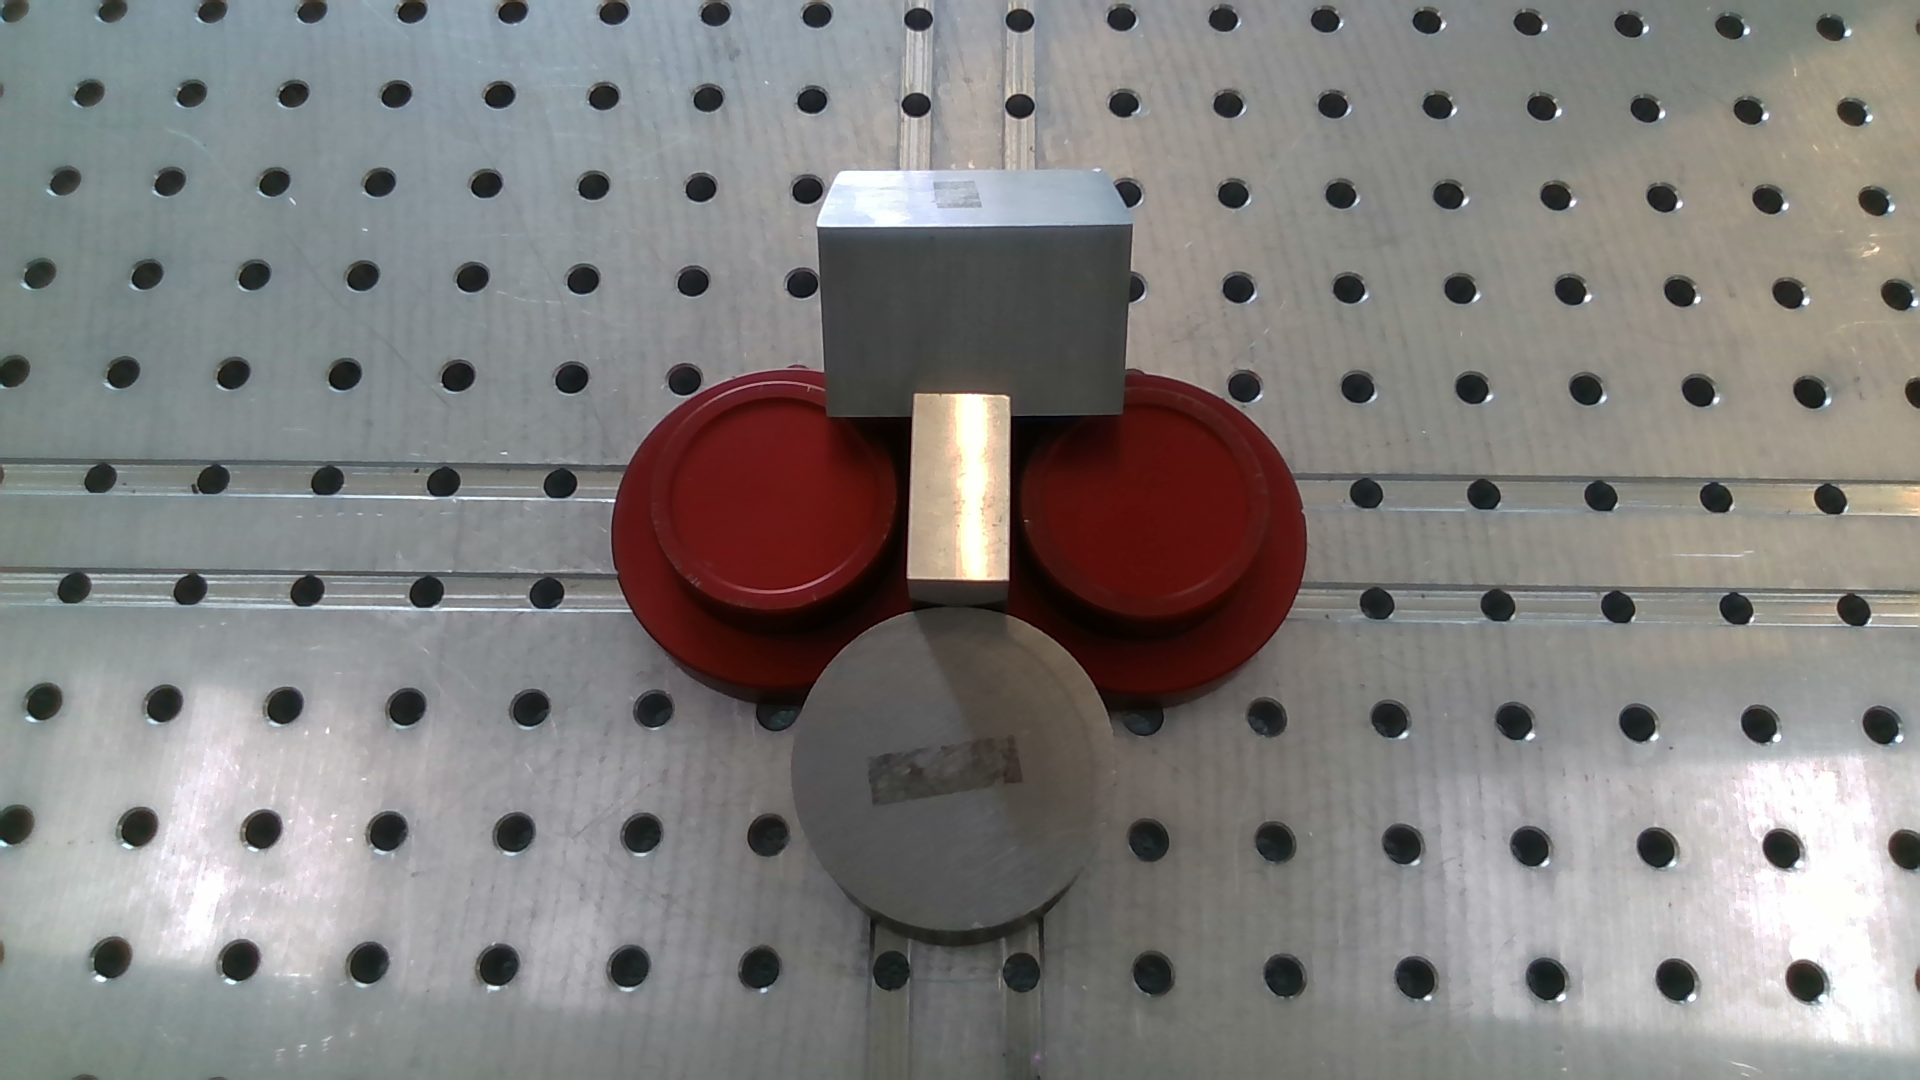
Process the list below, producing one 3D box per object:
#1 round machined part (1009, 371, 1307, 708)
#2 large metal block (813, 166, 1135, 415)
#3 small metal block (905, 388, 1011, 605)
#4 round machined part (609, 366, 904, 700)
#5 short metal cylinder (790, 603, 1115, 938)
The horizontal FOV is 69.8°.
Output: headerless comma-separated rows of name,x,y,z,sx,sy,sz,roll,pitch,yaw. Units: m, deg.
round machined part,0.050,-0.005,0.391,0.098,0.042,0.098,0,70,0
large metal block,0.004,-0.073,0.389,0.080,0.080,0.050,-1,115,0
small metal block,0.000,-0.006,0.364,0.025,0.050,0.050,1,70,1
round machined part,-0.051,-0.006,0.392,0.098,0.042,0.098,0,70,0
short metal cylinder,-0.002,0.062,0.362,0.080,0.050,0.080,0,70,0
